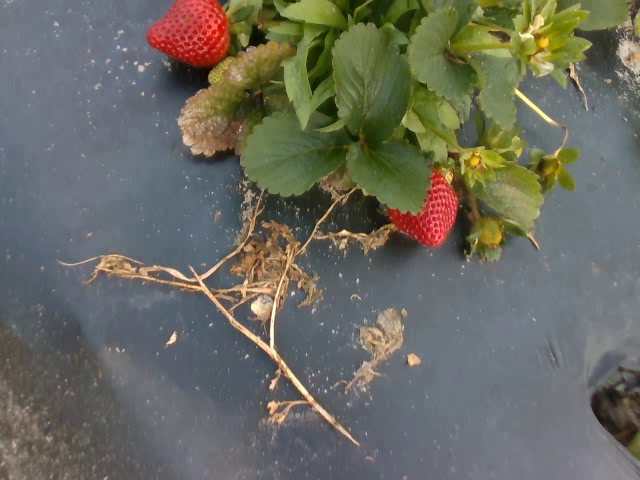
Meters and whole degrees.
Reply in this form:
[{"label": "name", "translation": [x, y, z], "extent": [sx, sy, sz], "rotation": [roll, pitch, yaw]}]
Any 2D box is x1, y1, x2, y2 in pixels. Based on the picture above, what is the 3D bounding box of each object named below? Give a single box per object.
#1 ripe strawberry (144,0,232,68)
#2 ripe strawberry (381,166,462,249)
[{"label": "ripe strawberry", "translation": [-0.073, -0.112, 0.331], "extent": [0.050, 0.043, 0.042], "rotation": [-26, -4, -23]}, {"label": "ripe strawberry", "translation": [0.059, -0.016, 0.336], "extent": [0.043, 0.046, 0.047], "rotation": [-13, -32, 3]}]
